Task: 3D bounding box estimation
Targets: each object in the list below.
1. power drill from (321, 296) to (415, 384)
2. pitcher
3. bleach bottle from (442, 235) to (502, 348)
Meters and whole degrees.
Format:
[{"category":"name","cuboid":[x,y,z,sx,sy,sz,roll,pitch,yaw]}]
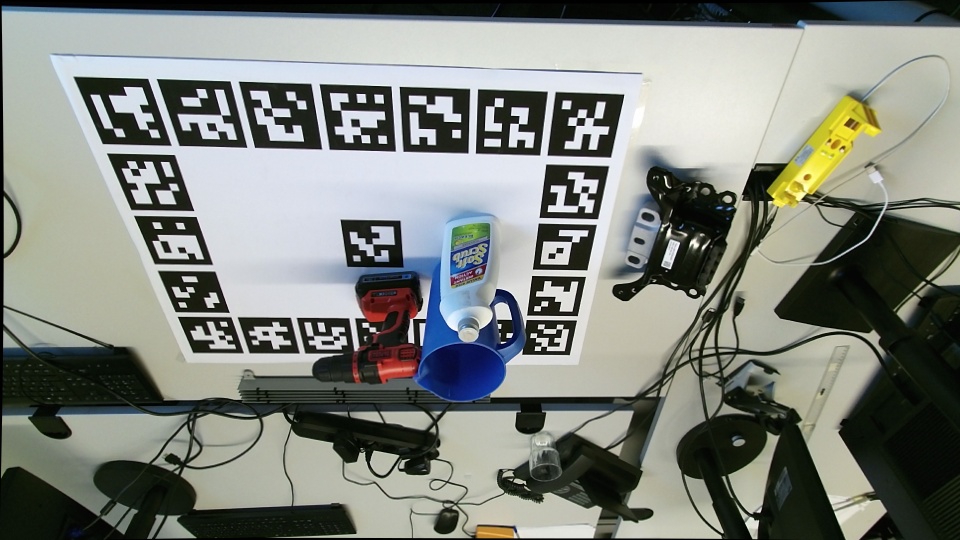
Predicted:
[{"category":"power drill","cuboid":[-0.192,0.118,0.905,0.185,0.186,0.057,-1,123,5]},{"category":"pitcher","cuboid":[-0.023,0.110,0.895,0.189,0.241,0.133,-22,122,12]},{"category":"bleach bottle","cuboid":[-0.007,0.039,0.820,0.103,0.249,0.068,-6,125,1]}]
